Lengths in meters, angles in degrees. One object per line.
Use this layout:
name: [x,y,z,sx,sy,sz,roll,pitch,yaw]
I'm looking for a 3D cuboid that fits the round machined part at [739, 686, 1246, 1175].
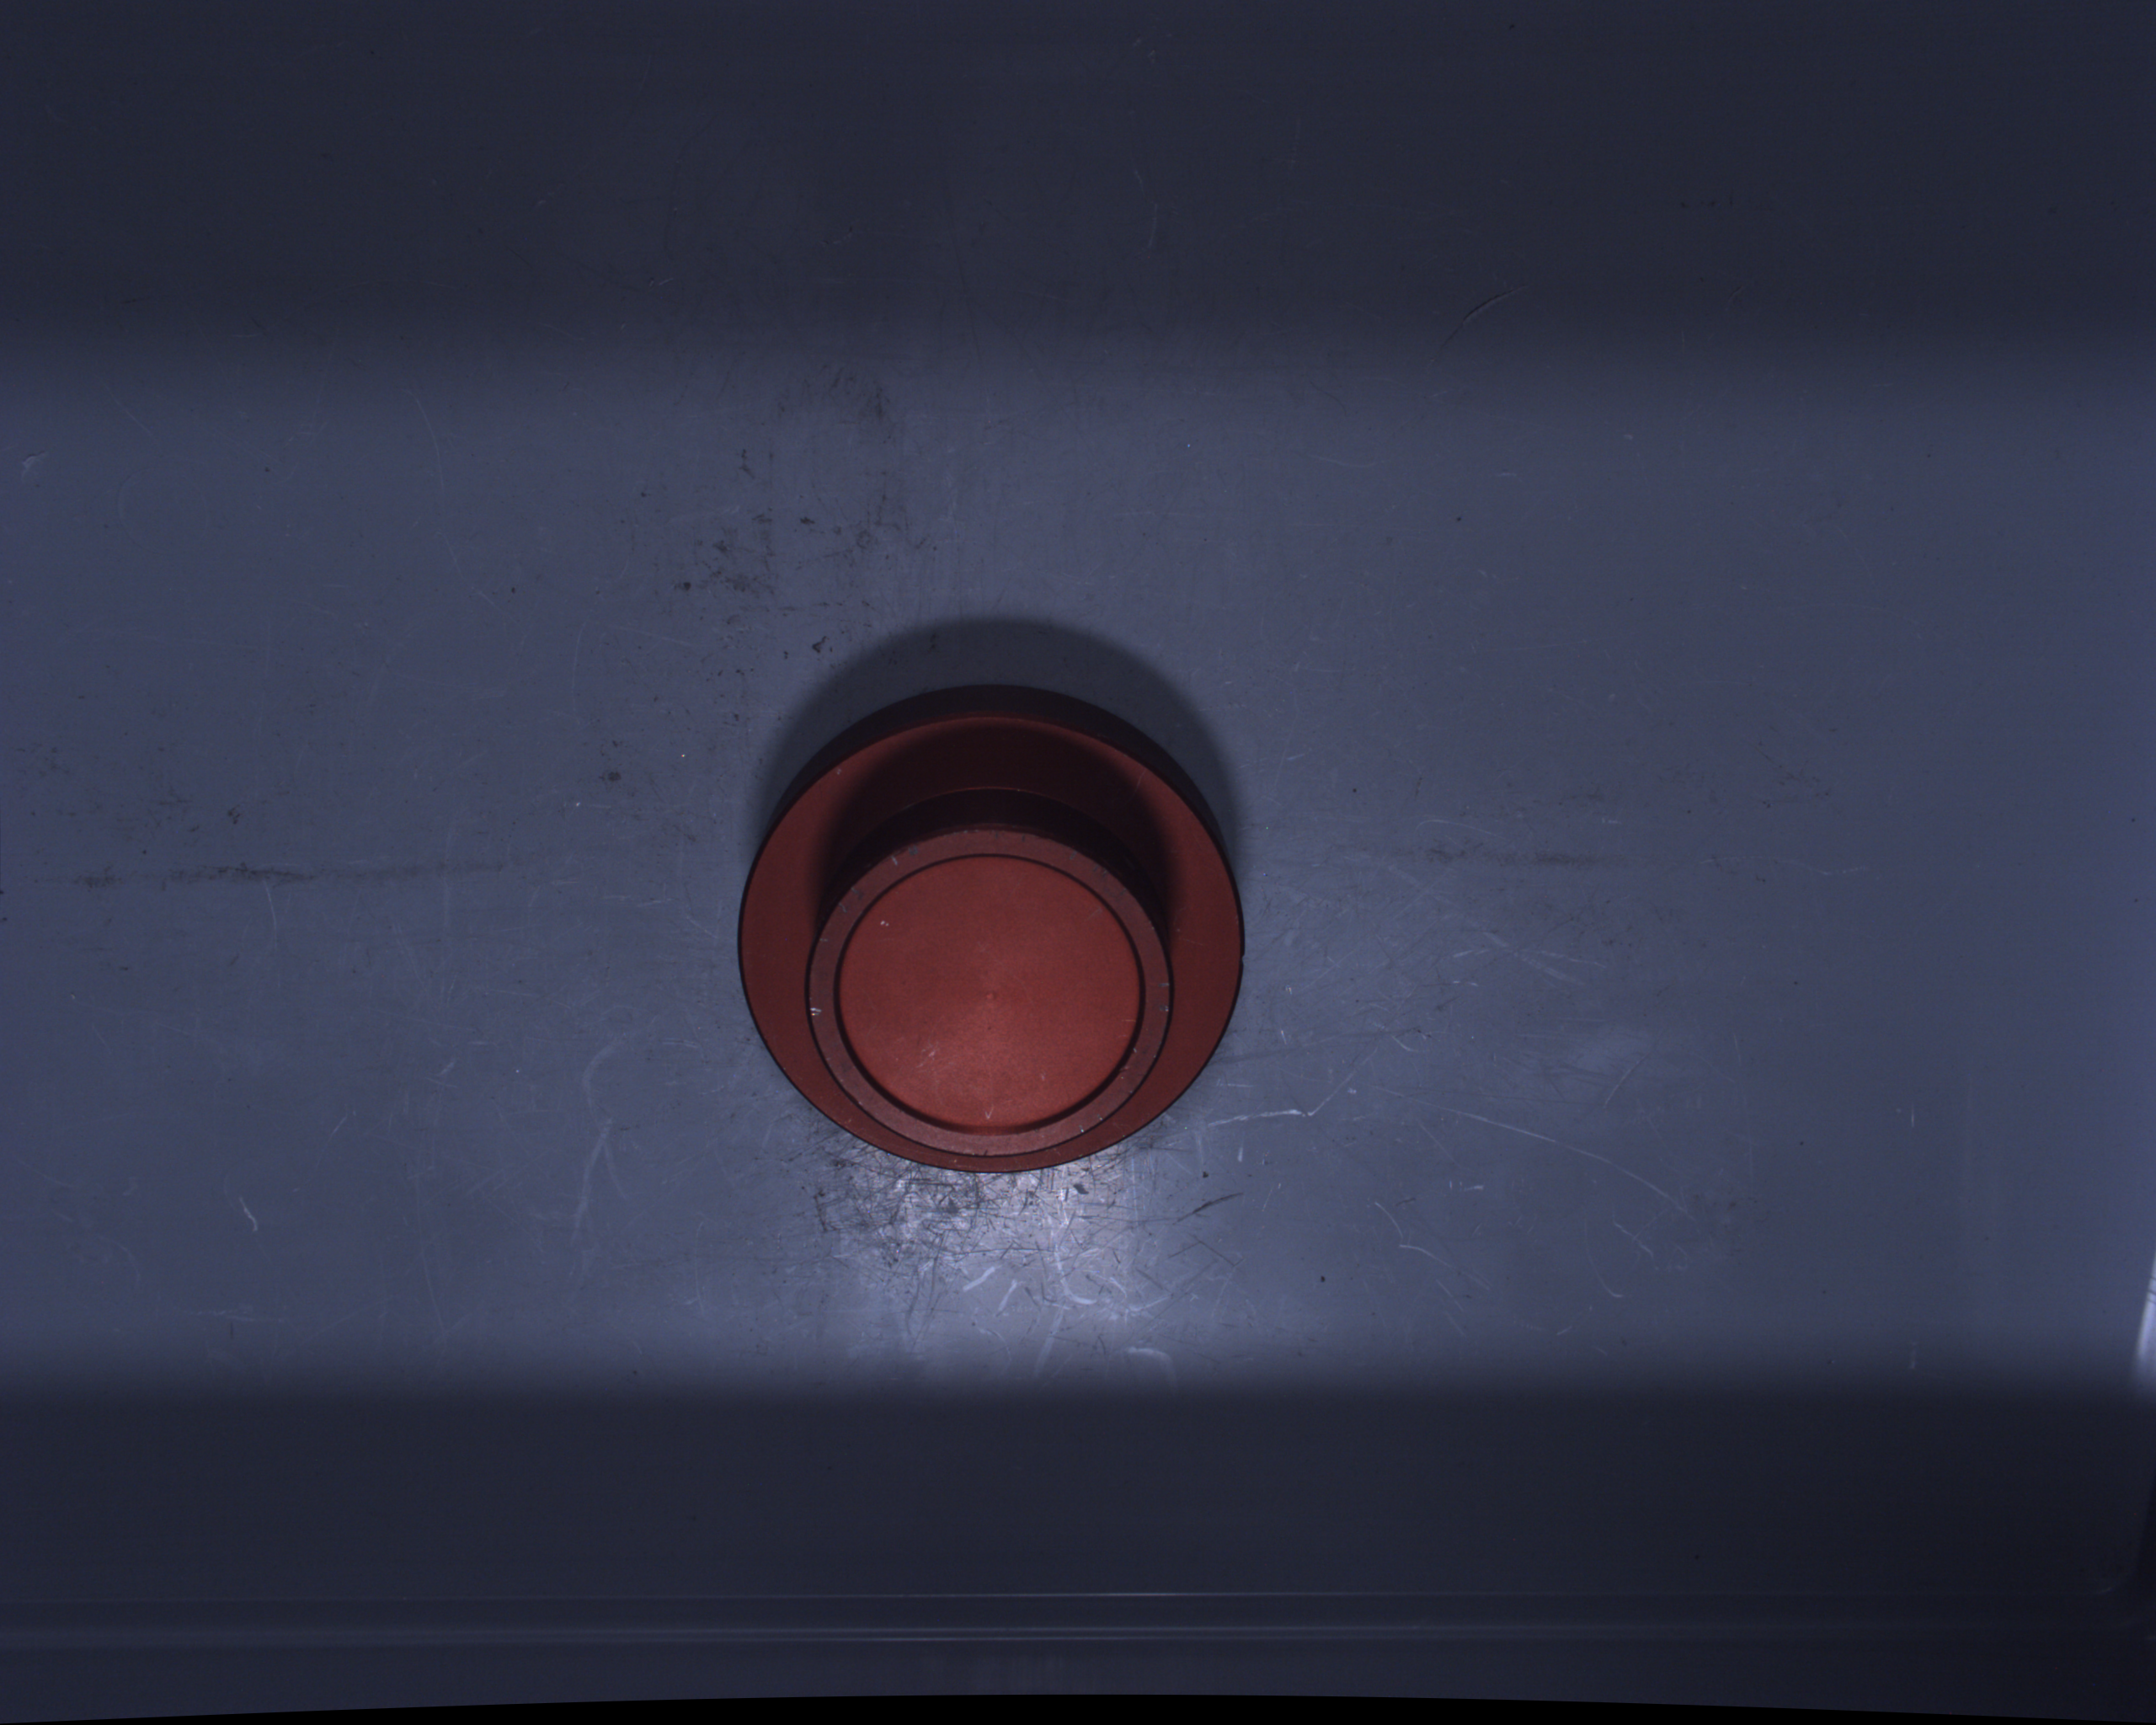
round machined part: [-0.017,0.018,0.405,0.099,0.042,0.097,0,110,-1]
